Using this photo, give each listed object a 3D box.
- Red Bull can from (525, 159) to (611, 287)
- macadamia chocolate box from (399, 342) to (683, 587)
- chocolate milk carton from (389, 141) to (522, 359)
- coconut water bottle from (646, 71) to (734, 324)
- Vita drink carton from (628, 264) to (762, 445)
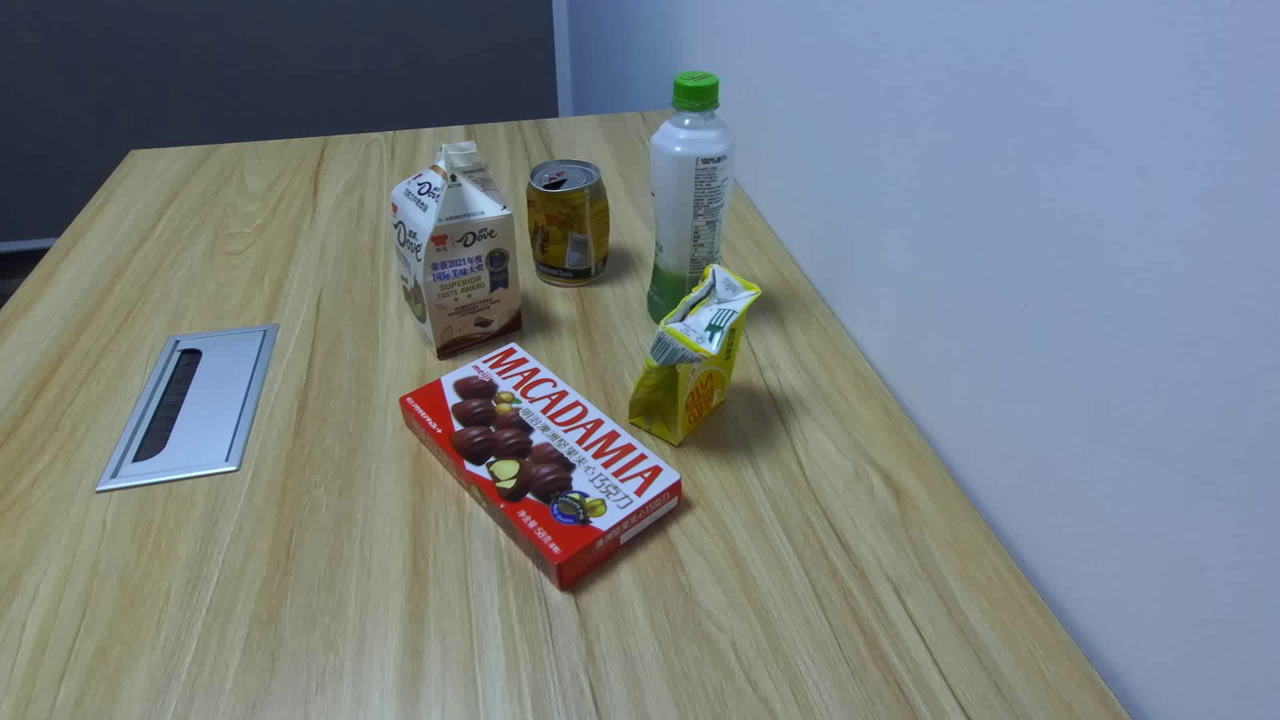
[{"bbox_3d":[-0.063,-0.119,0.609,0.072,0.092,0.072,1,41,-1],"label":"Red Bull can"},{"bbox_3d":[-0.067,0.057,0.452,0.096,0.027,0.177,-30,48,-32],"label":"macadamia chocolate box"},{"bbox_3d":[-0.139,-0.090,0.526,0.074,0.156,0.076,-20,43,-25],"label":"chocolate milk carton"},{"bbox_3d":[0.037,-0.113,0.525,0.063,0.189,0.063,0,37,0],"label":"coconut water bottle"},{"bbox_3d":[0.036,0.000,0.456,0.042,0.108,0.087,36,53,18],"label":"Vita drink carton"}]
